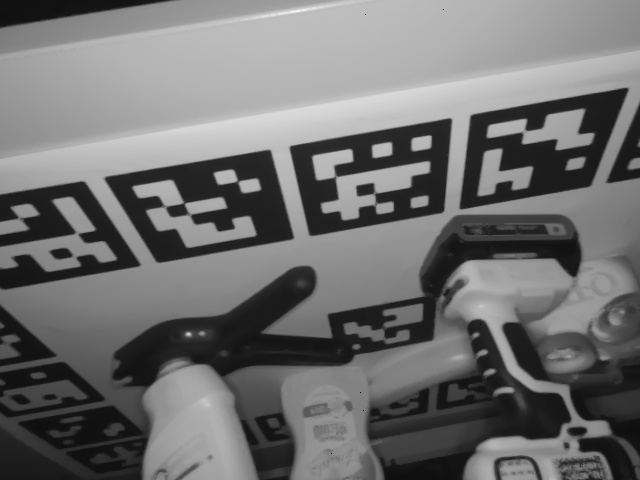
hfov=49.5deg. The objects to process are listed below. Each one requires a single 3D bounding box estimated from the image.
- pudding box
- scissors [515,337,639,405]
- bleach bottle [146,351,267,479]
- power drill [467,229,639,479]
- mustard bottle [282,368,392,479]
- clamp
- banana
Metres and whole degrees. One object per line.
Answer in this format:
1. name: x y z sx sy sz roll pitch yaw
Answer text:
1. pudding box: 0.244 0.066 0.603 0.114 0.090 0.038 -5 149 -6
2. scissors: 0.262 0.119 0.570 0.205 0.016 0.086 12 134 -19
3. bleach bottle: -0.092 0.184 0.524 0.102 0.251 0.068 -24 144 8
4. power drill: 0.190 0.084 0.486 0.186 0.188 0.056 -2 149 -15
5. mustard bottle: 0.018 0.216 0.670 0.097 0.192 0.057 2 141 -13
6. clamp: -0.071 0.088 0.578 0.203 0.037 0.164 -11 141 3
7. banana: 0.118 0.159 0.727 0.194 0.039 0.075 -34 153 28
